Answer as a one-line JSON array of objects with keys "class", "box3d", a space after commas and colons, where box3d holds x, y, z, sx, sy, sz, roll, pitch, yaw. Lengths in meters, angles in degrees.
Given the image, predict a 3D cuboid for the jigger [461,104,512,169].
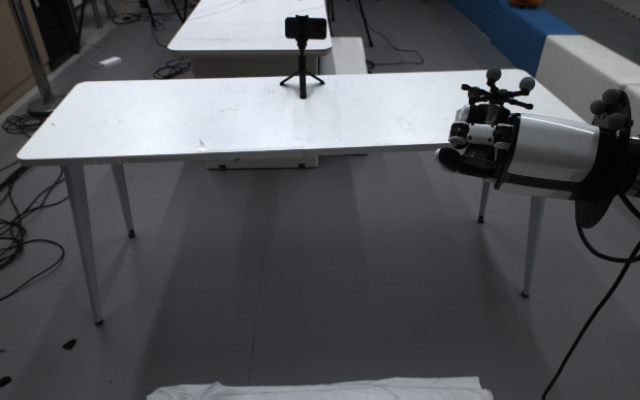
[{"class": "jigger", "box3d": [0.201, -0.078, 0.586, 0.043, 0.071, 0.043, 18, -6, 2]}]
